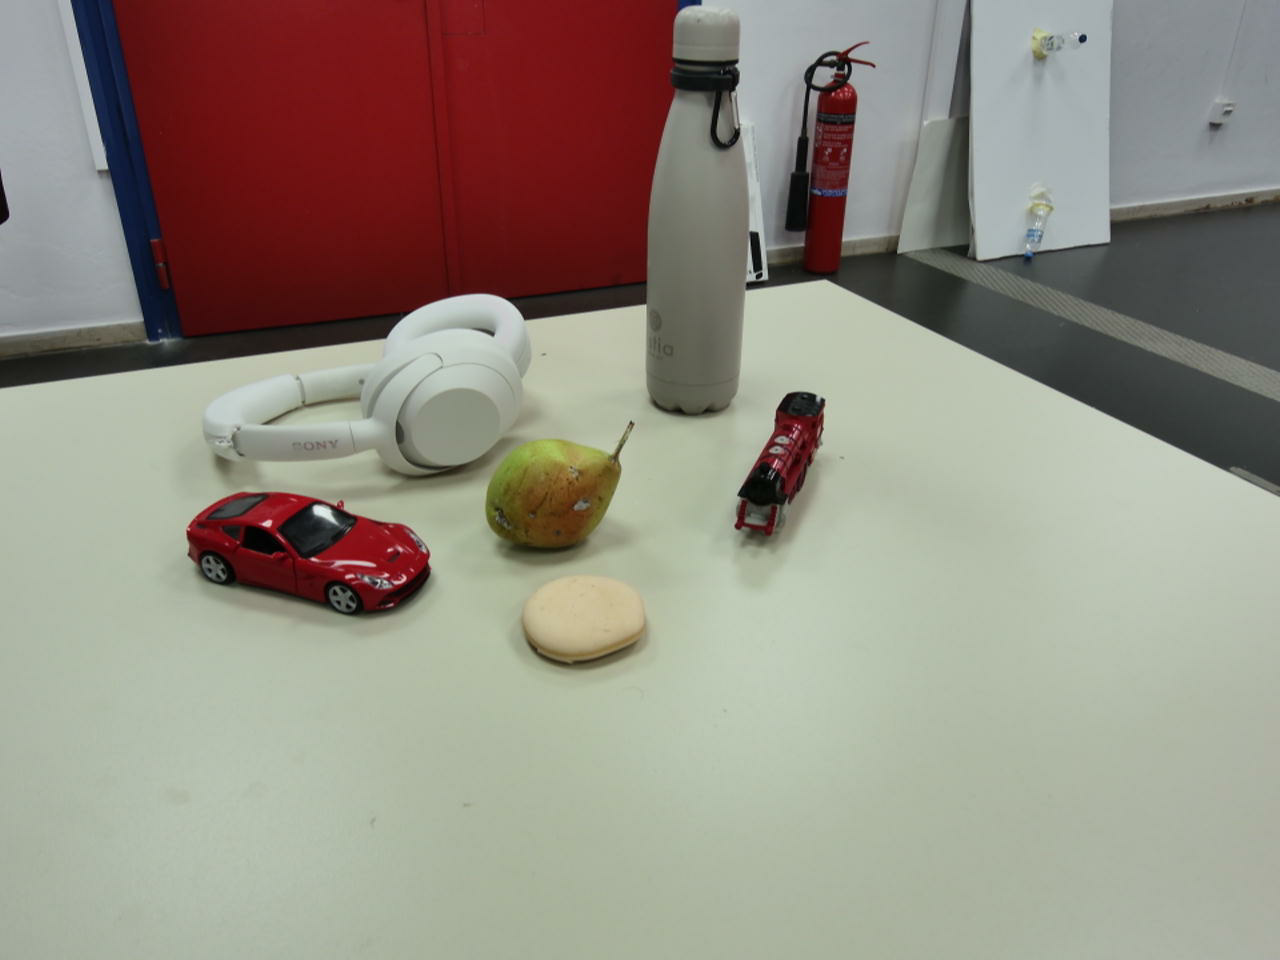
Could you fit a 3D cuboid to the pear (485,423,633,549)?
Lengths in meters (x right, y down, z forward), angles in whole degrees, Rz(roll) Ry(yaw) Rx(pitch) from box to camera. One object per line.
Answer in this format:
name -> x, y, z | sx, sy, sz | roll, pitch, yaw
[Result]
pear -> -0.049, 0.006, 0.566 | 0.070, 0.069, 0.068 | 12, 29, 24
